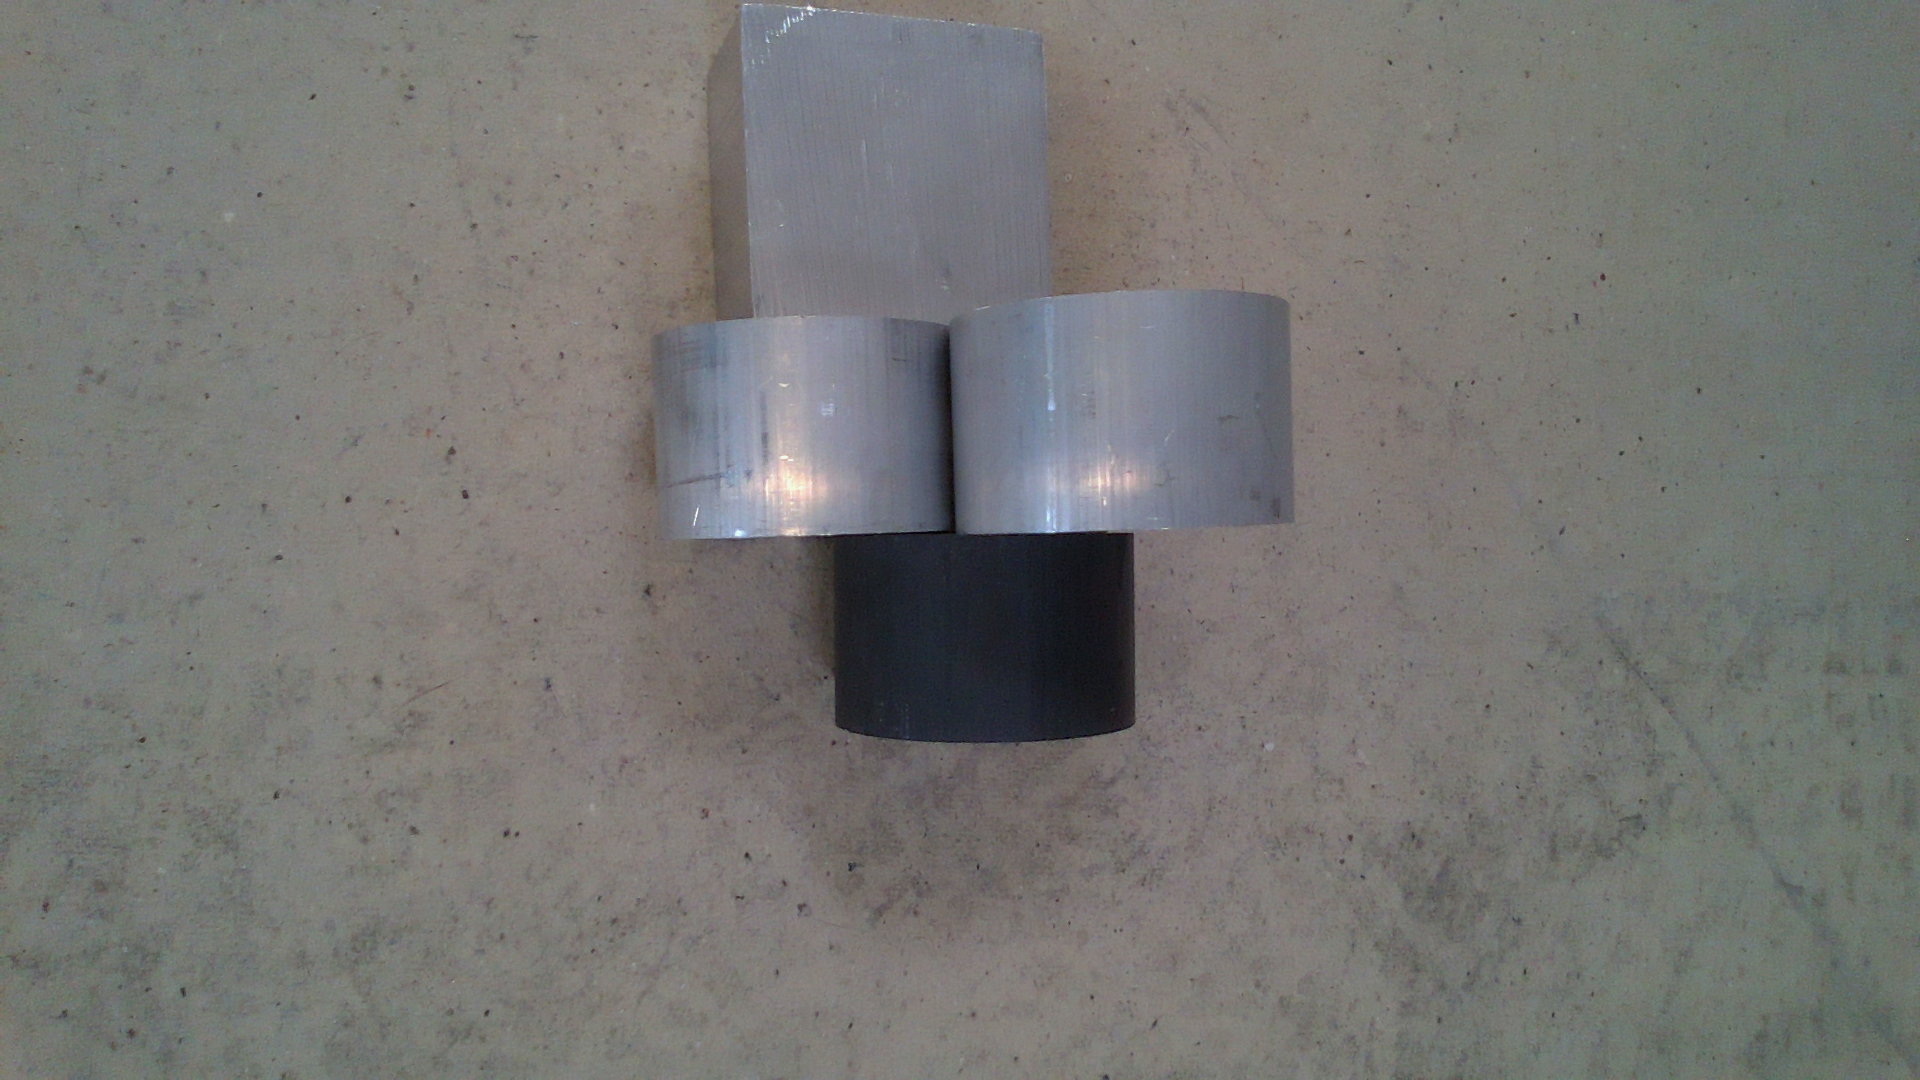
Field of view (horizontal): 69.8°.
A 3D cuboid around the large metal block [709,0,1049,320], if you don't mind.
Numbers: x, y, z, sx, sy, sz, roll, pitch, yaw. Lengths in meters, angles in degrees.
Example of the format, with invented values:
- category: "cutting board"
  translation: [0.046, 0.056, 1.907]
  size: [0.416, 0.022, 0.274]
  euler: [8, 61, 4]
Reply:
- category: "large metal block"
  translation: [-0.023, -0.093, 0.372]
  size: [0.080, 0.050, 0.080]
  euler: [-2, 91, -20]

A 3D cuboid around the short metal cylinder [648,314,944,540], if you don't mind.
- category: "short metal cylinder"
  translation: [-0.038, -0.026, 0.351]
  size: [0.080, 0.080, 0.050]
  euler: [-2, 91, -20]

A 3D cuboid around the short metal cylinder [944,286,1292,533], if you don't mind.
- category: "short metal cylinder"
  translation: [0.037, -0.028, 0.325]
  size: [0.080, 0.080, 0.050]
  euler: [-2, 91, -20]

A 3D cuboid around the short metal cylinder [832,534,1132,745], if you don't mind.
- category: "short metal cylinder"
  translation: [0.006, 0.024, 0.367]
  size: [0.080, 0.080, 0.050]
  euler: [0, 90, -20]

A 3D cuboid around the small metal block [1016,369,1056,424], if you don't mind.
- category: "small metal block"
  translation: [0.018, -0.027, 0.389]
  size: [0.025, 0.050, 0.050]
  euler: [1, 90, -20]
